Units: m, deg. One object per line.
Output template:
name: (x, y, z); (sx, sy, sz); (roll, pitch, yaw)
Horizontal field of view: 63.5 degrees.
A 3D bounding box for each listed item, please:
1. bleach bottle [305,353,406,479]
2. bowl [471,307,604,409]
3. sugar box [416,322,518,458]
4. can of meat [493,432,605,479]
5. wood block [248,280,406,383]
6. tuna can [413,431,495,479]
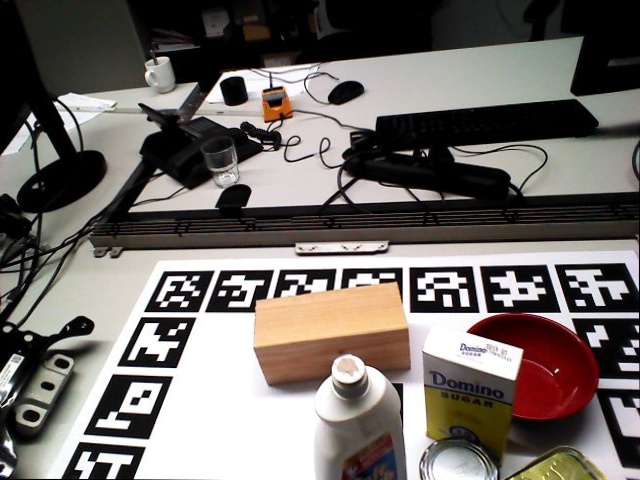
bleach bottle: (0.028, 0.196, 0.499); (0.102, 0.251, 0.068); (-20, 38, -9)
bowl: (0.260, 0.153, 0.646); (0.162, 0.055, 0.161); (-11, 37, 8)
sugar box: (0.163, 0.161, 0.561); (0.093, 0.177, 0.045); (9, 45, 30)
can of meat: (0.224, 0.253, 0.515); (0.101, 0.084, 0.058); (-21, 36, -14)
wood block: (0.009, 0.127, 0.723); (0.207, 0.090, 0.090); (-8, 43, 3)
tuna can: (0.145, 0.256, 0.563); (0.086, 0.034, 0.085); (-8, 42, 7)
